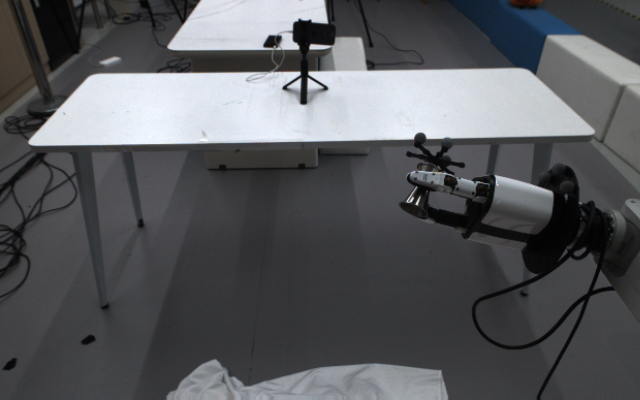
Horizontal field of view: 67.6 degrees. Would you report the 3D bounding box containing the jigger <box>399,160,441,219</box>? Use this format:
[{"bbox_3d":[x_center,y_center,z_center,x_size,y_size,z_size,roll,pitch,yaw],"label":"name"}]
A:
[{"bbox_3d":[0.145,-0.018,0.689,0.043,0.043,0.071,19,72,23],"label":"jigger"}]
